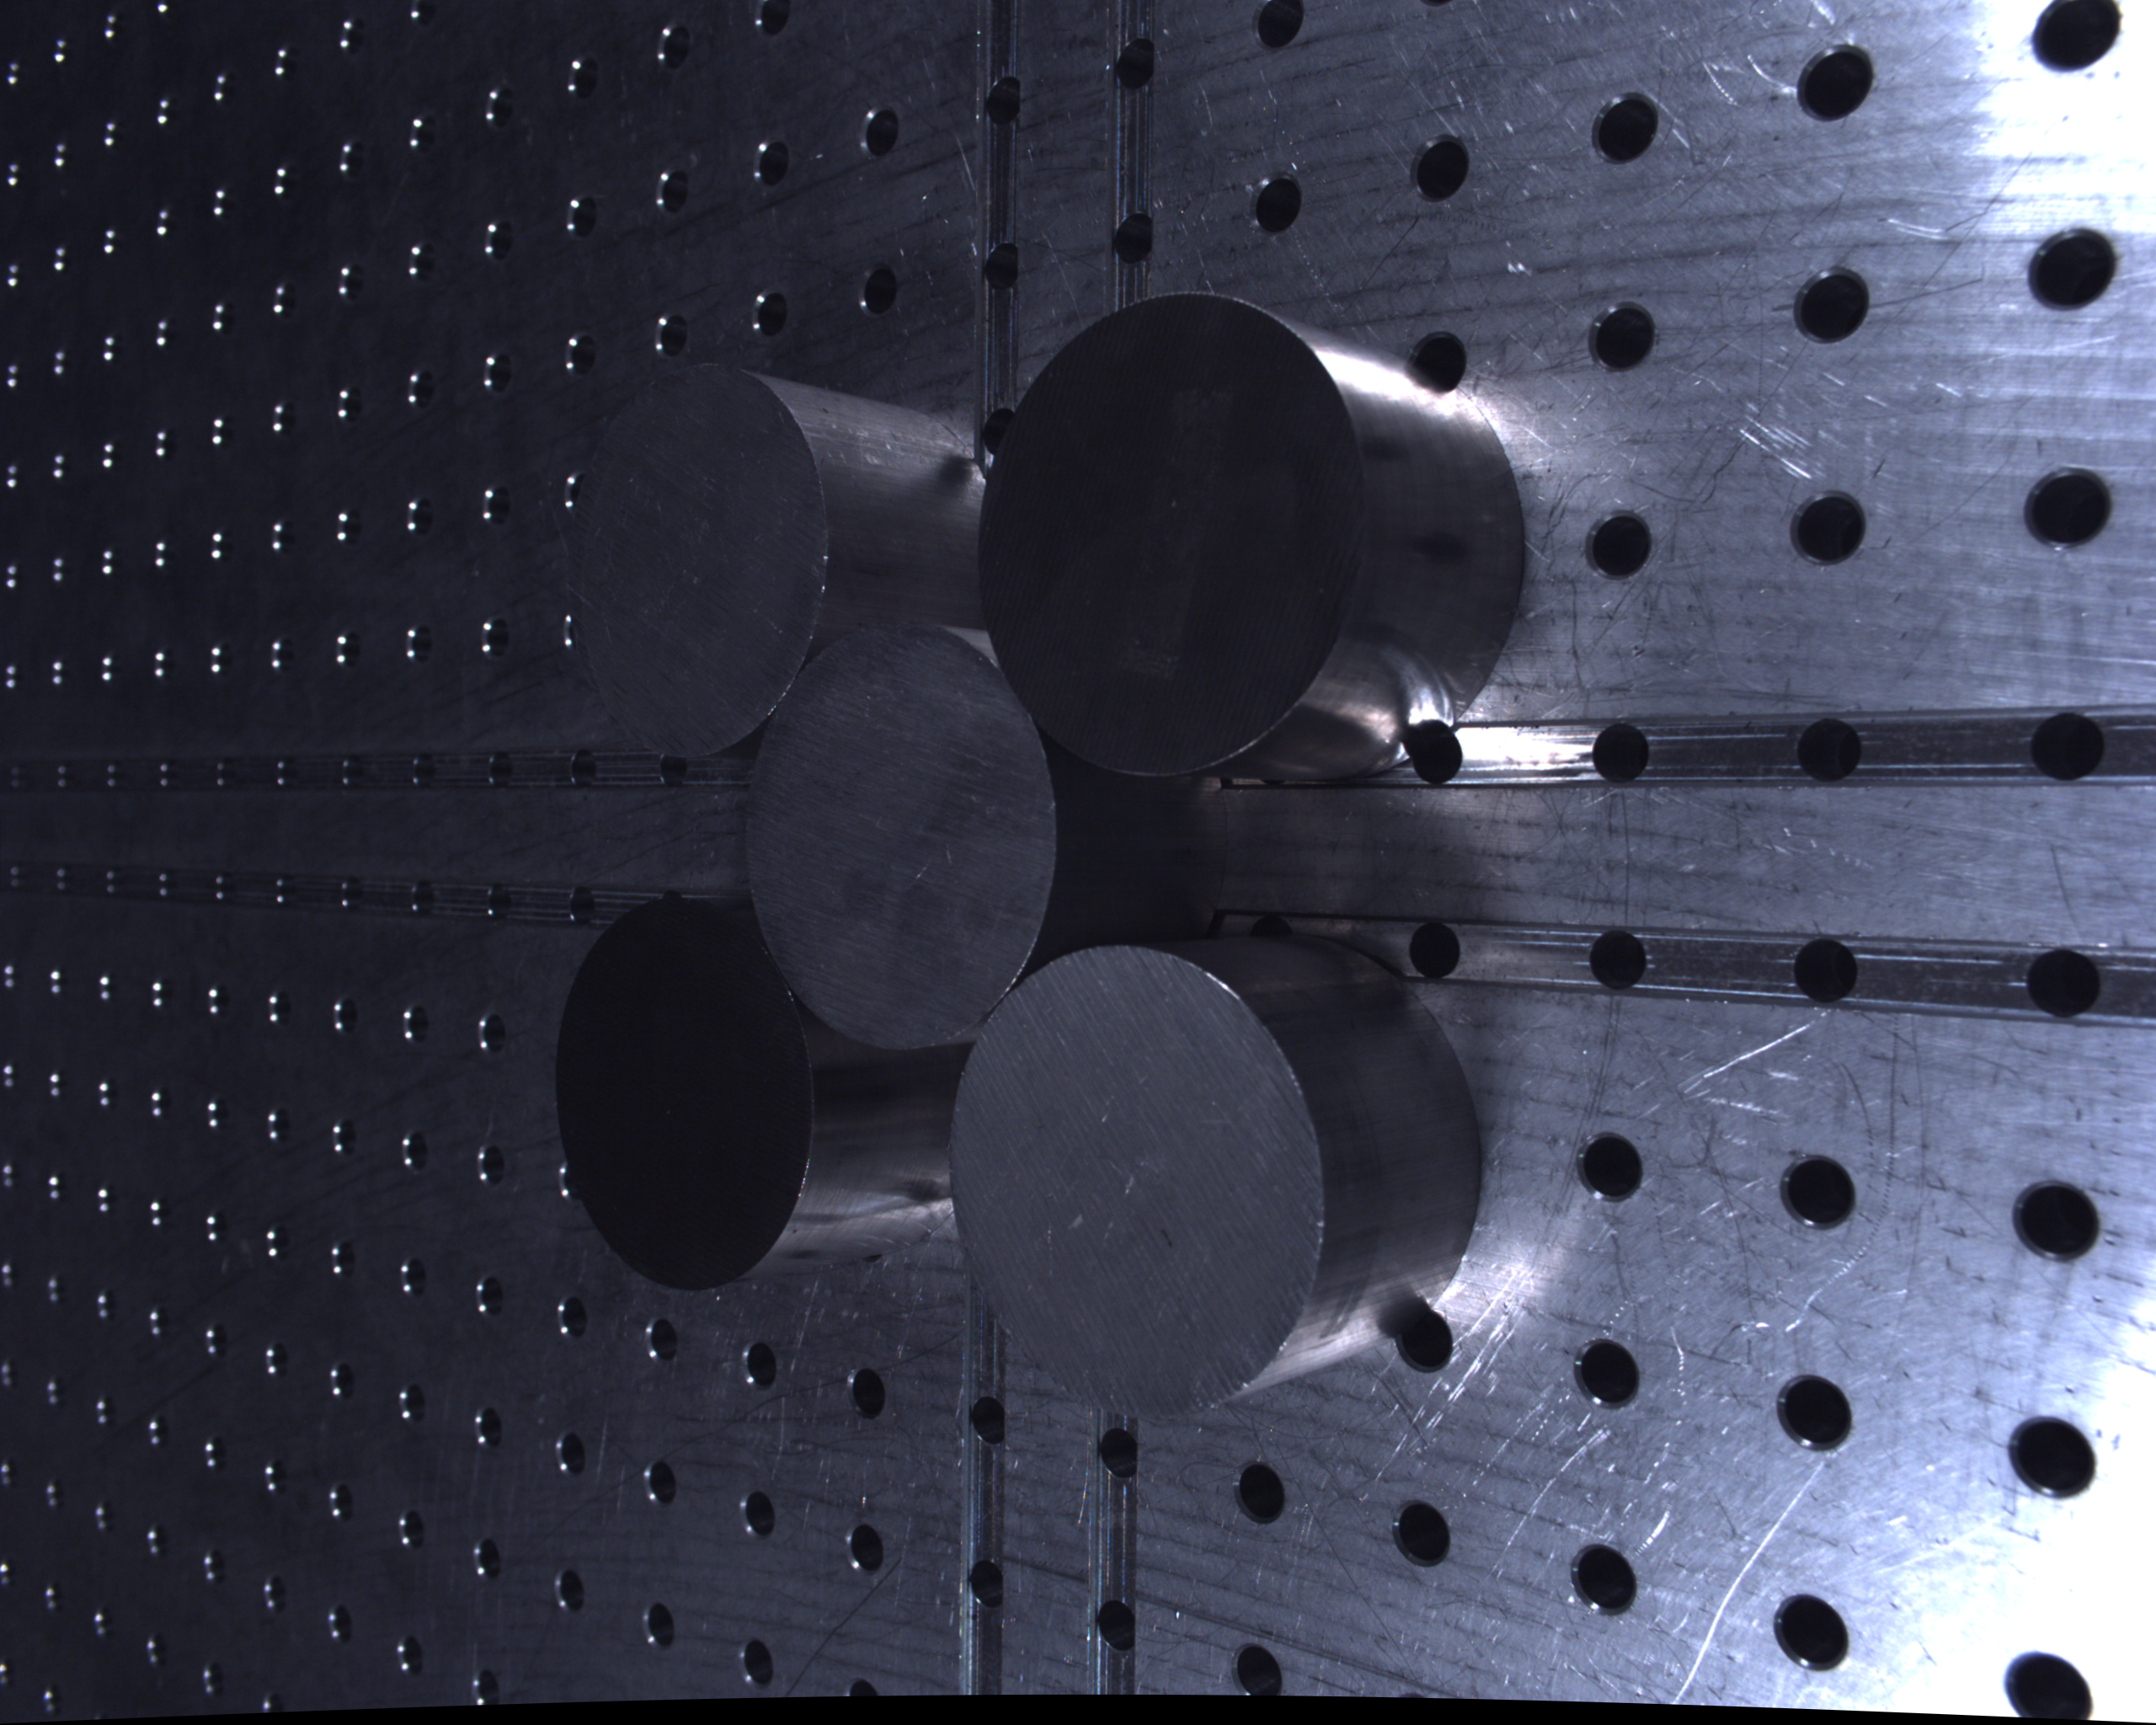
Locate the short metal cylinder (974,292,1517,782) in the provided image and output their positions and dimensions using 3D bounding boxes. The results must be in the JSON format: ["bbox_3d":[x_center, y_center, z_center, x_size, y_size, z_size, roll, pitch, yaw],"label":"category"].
[{"bbox_3d":[0.029,-0.054,0.365,0.080,0.050,0.079,0,90,39],"label":"short metal cylinder"}]

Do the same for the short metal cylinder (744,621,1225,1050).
[{"bbox_3d":[-0.019,-0.005,0.406,0.080,0.050,0.079,0,90,39],"label":"short metal cylinder"}]

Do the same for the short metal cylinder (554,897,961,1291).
[{"bbox_3d":[-0.066,0.047,0.444,0.080,0.050,0.079,0,90,39],"label":"short metal cylinder"}]

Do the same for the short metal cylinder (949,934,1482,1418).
[{"bbox_3d":[0.024,0.053,0.371,0.080,0.050,0.079,0,90,39],"label":"short metal cylinder"}]

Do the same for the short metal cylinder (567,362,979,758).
[{"bbox_3d":[-0.063,-0.061,0.442,0.080,0.050,0.079,0,90,39],"label":"short metal cylinder"}]
